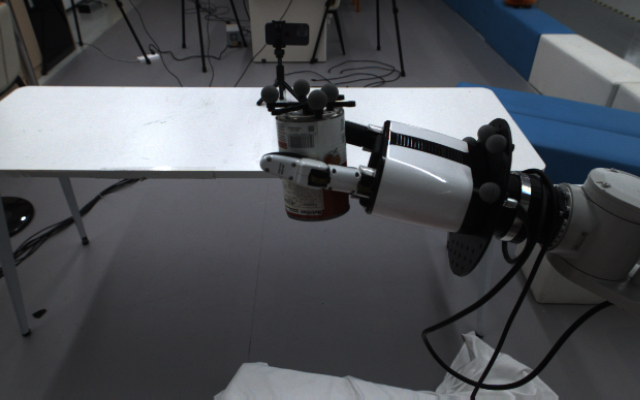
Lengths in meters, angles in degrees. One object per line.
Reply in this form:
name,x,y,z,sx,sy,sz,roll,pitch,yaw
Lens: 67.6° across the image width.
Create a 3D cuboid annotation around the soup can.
soup can,-0.004,-0.038,0.479,0.067,0.101,0.067,-4,21,2
